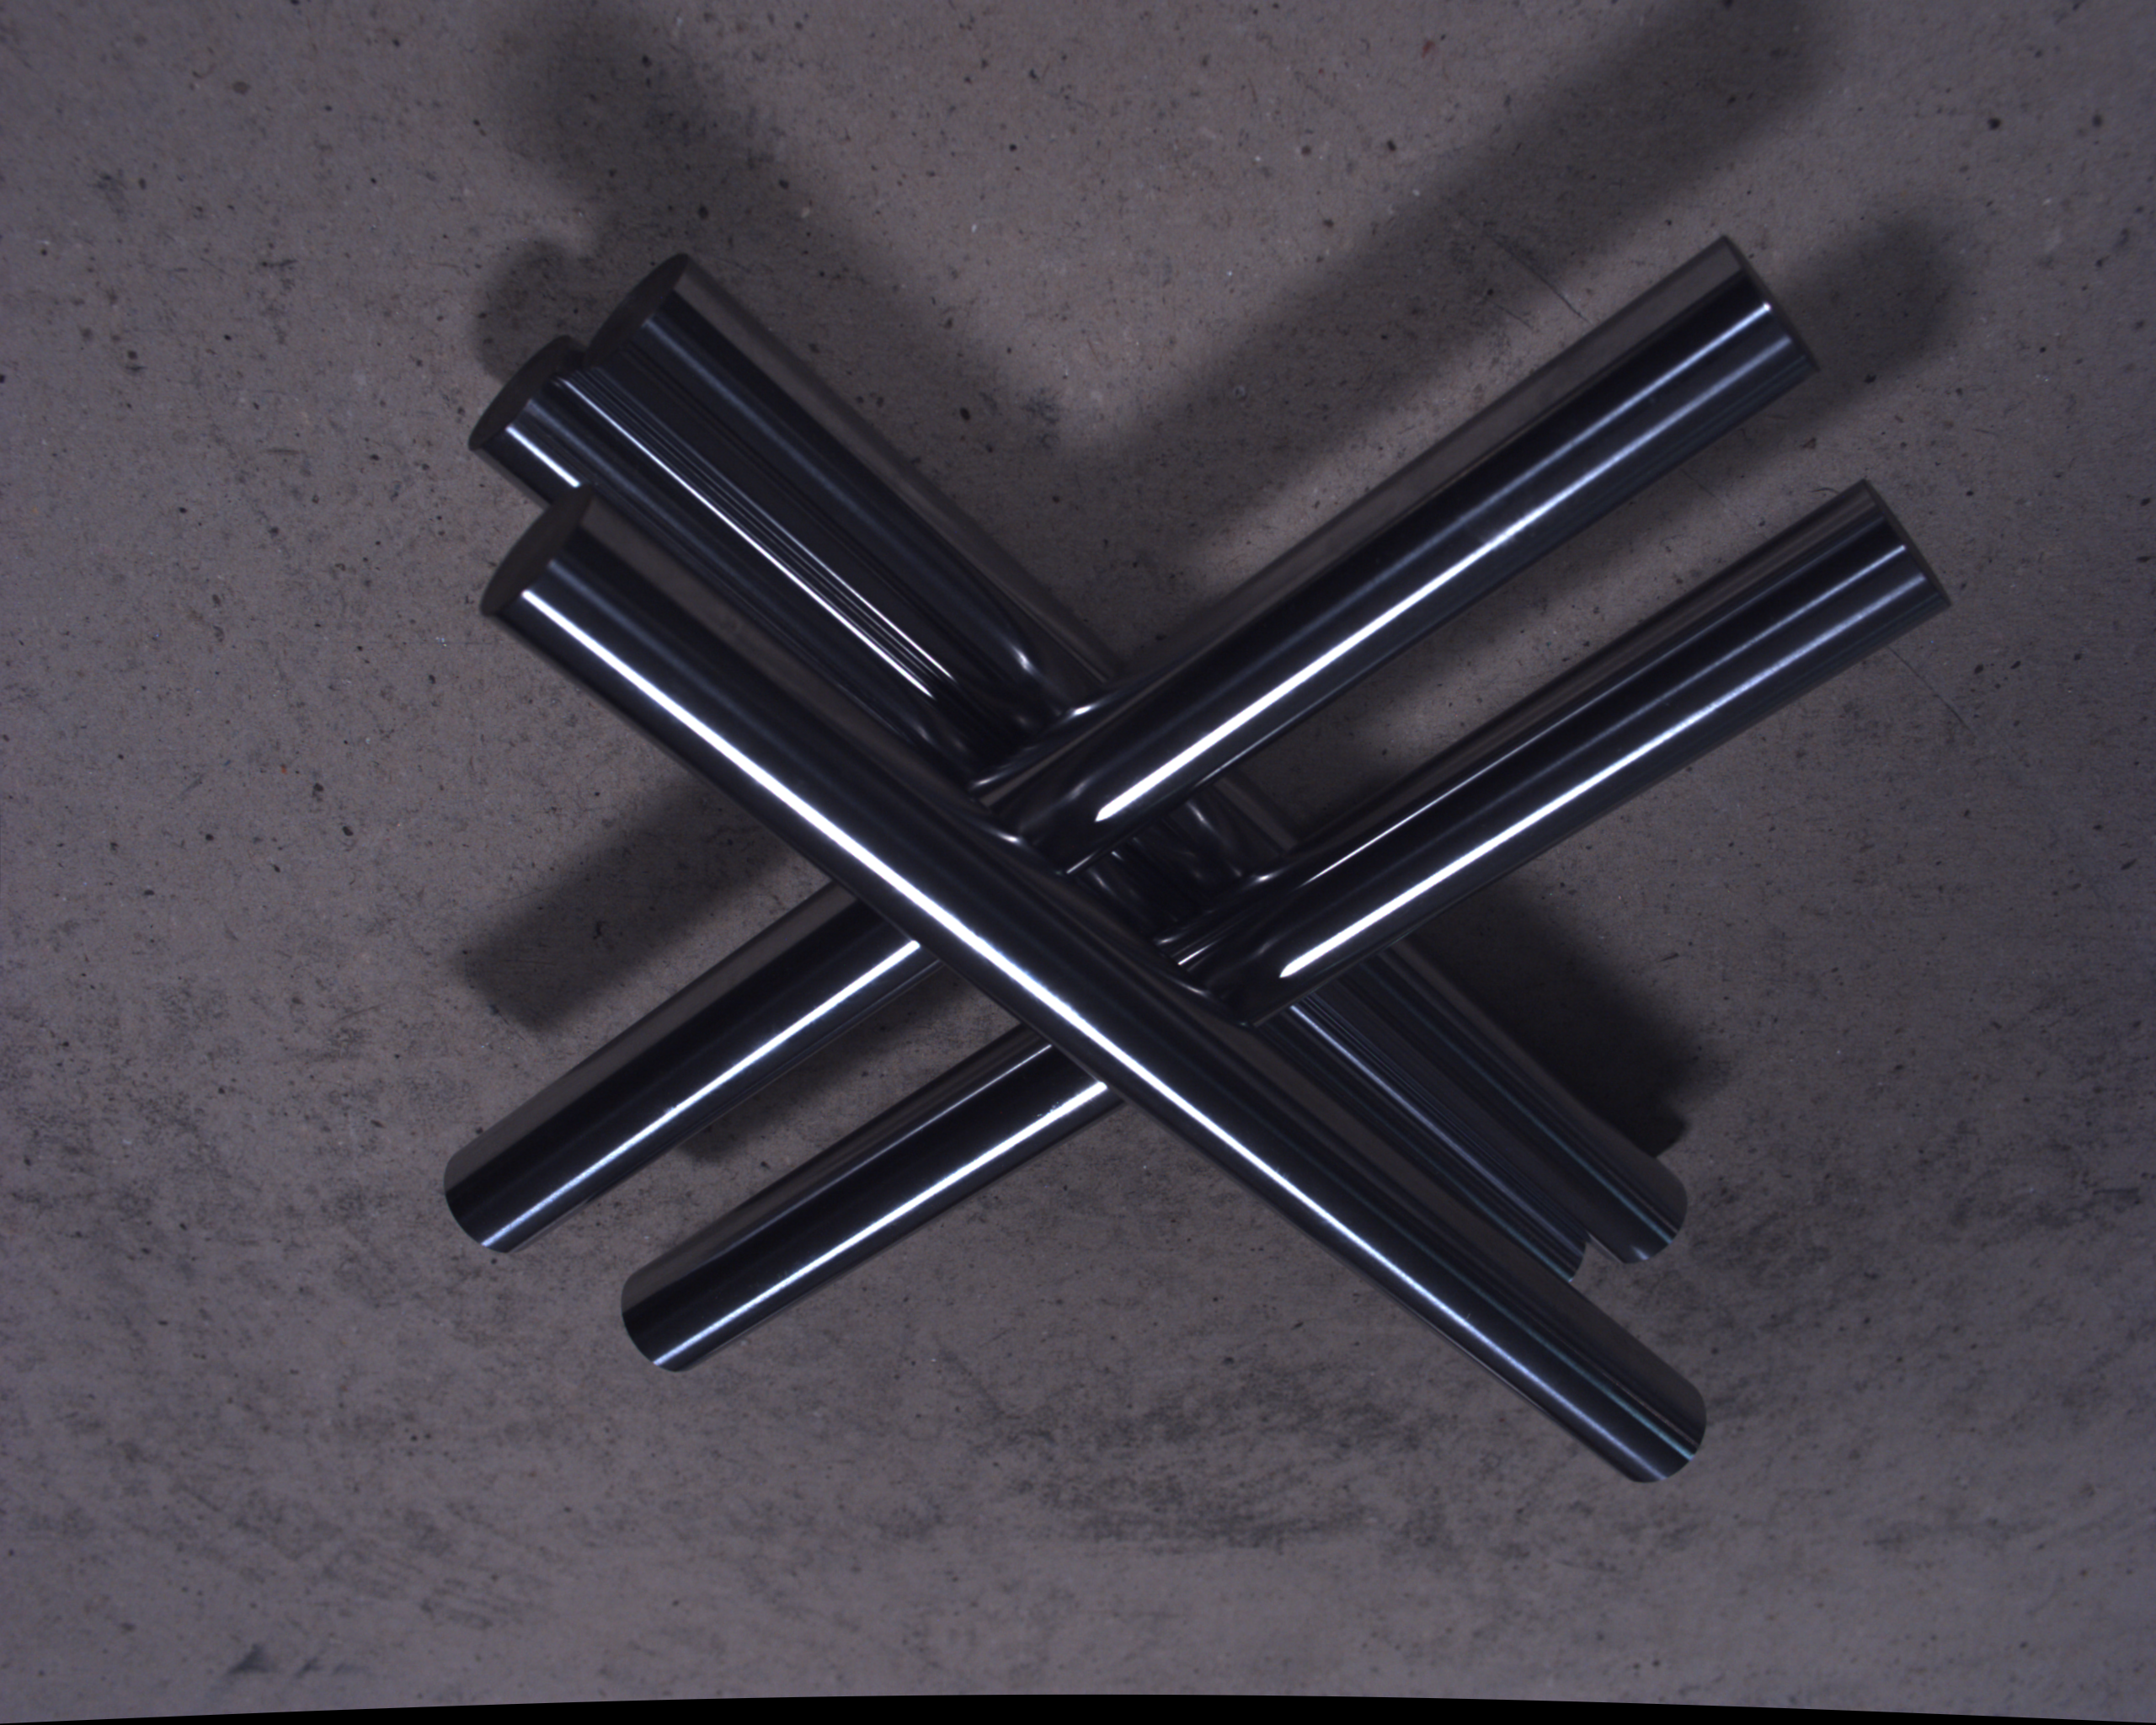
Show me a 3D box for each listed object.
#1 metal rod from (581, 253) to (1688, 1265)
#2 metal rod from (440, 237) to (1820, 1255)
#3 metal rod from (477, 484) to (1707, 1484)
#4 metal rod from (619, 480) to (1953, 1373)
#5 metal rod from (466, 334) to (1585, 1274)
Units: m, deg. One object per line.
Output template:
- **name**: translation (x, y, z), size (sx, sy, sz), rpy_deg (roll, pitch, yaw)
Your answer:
- **metal rod**: translation (0.029, -0.003, 0.406), size (0.025, 0.025, 0.301), rpy_deg (-34, 123, 25)
- **metal rod**: translation (-0.010, -0.006, 0.371), size (0.299, 0.025, 0.025), rpy_deg (-34, 123, 25)
- **metal rod**: translation (0.022, 0.038, 0.376), size (0.025, 0.025, 0.301), rpy_deg (-35, 122, 26)
- **metal rod**: translation (0.021, 0.025, 0.397), size (0.299, 0.025, 0.025), rpy_deg (-34, 123, 25)
- **metal rod**: translation (0.008, 0.008, 0.415), size (0.025, 0.025, 0.301), rpy_deg (-34, 123, 25)
